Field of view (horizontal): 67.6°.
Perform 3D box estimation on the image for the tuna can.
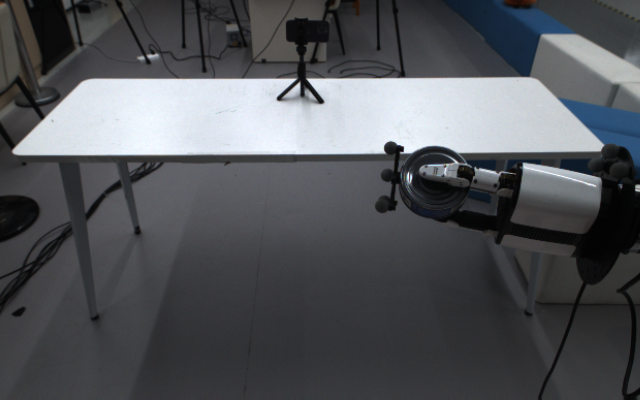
[{"bbox_3d":[0.142,-0.026,0.595,0.085,0.034,0.085,-2,68,5],"label":"tuna can"}]
